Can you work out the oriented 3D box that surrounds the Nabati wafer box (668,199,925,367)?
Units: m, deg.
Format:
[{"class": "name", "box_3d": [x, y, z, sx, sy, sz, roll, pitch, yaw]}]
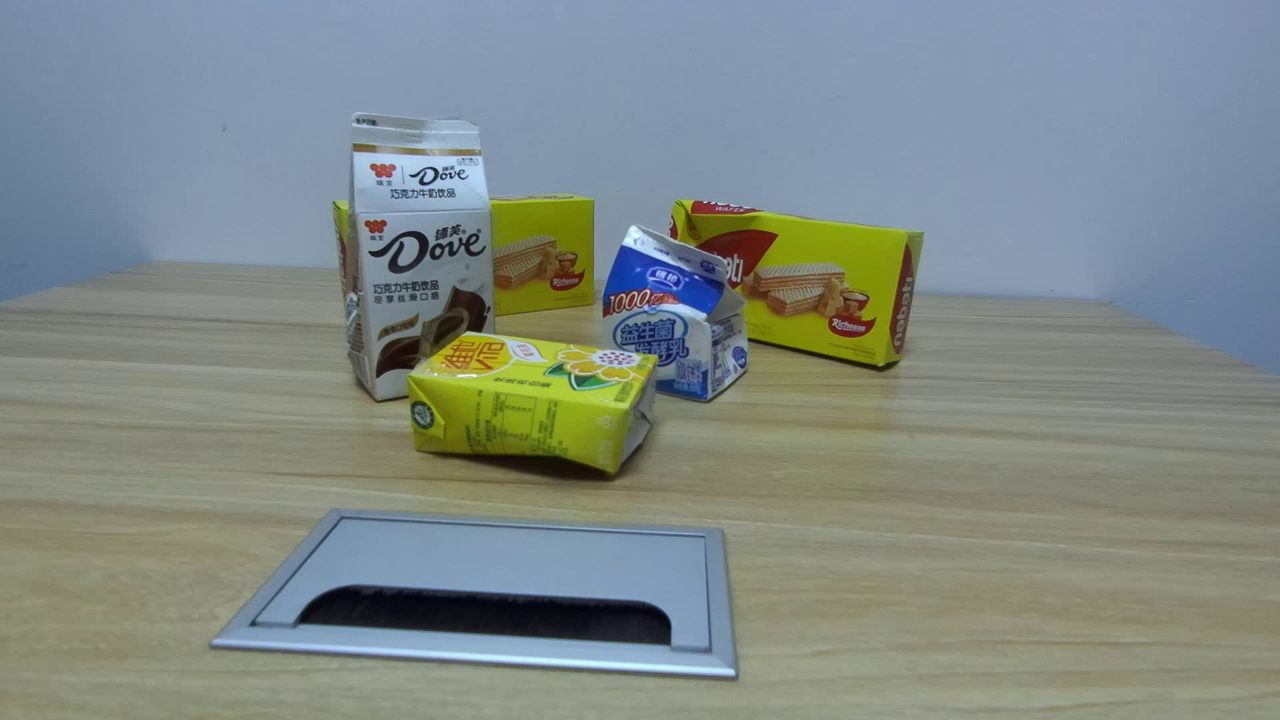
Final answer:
[{"class": "Nabati wafer box", "box_3d": [0.100, -0.062, 0.530, 0.202, 0.096, 0.042, 17, 12, 34]}]

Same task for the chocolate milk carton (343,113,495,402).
[{"class": "chocolate milk carton", "box_3d": [-0.134, -0.064, 0.415, 0.085, 0.155, 0.072, -10, 25, -31]}]

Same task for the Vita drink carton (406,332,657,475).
[{"class": "Vita drink carton", "box_3d": [-0.052, 0.022, 0.350, 0.108, 0.043, 0.076, 8, 23, 11]}]

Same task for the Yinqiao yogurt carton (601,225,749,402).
[{"class": "Yinqiao yogurt carton", "box_3d": [0.022, -0.035, 0.439, 0.083, 0.093, 0.077, 11, 22, 25]}]

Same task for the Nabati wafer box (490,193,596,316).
[{"class": "Nabati wafer box", "box_3d": [-0.134, -0.082, 0.574, 0.204, 0.093, 0.042, -9, 16, -26]}]
